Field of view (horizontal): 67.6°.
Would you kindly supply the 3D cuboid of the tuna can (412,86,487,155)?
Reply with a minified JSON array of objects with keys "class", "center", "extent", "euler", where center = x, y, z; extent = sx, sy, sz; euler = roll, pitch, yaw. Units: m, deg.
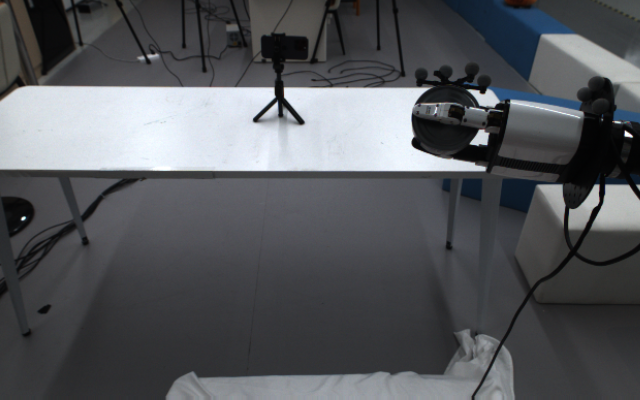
[{"class":"tuna can","center":[0.162,-0.106,0.621],"extent":[0.085,0.085,0.034],"euler":[11,-7,12]}]
